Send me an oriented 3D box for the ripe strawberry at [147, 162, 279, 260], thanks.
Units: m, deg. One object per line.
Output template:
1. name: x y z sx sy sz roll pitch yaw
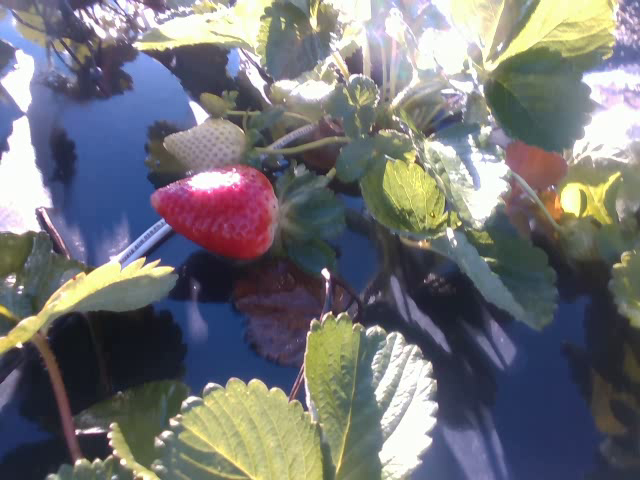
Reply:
1. ripe strawberry: -0.047 -0.018 0.305 0.080 0.063 0.040 7 -18 -27
